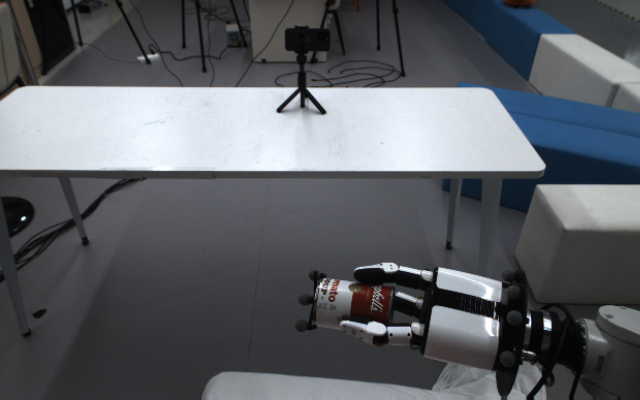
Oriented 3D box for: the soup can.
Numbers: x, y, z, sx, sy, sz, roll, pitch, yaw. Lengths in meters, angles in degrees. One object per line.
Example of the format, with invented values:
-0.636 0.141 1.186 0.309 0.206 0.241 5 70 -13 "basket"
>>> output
0.051 0.145 0.657 0.101 0.067 0.067 5 34 13 "soup can"
